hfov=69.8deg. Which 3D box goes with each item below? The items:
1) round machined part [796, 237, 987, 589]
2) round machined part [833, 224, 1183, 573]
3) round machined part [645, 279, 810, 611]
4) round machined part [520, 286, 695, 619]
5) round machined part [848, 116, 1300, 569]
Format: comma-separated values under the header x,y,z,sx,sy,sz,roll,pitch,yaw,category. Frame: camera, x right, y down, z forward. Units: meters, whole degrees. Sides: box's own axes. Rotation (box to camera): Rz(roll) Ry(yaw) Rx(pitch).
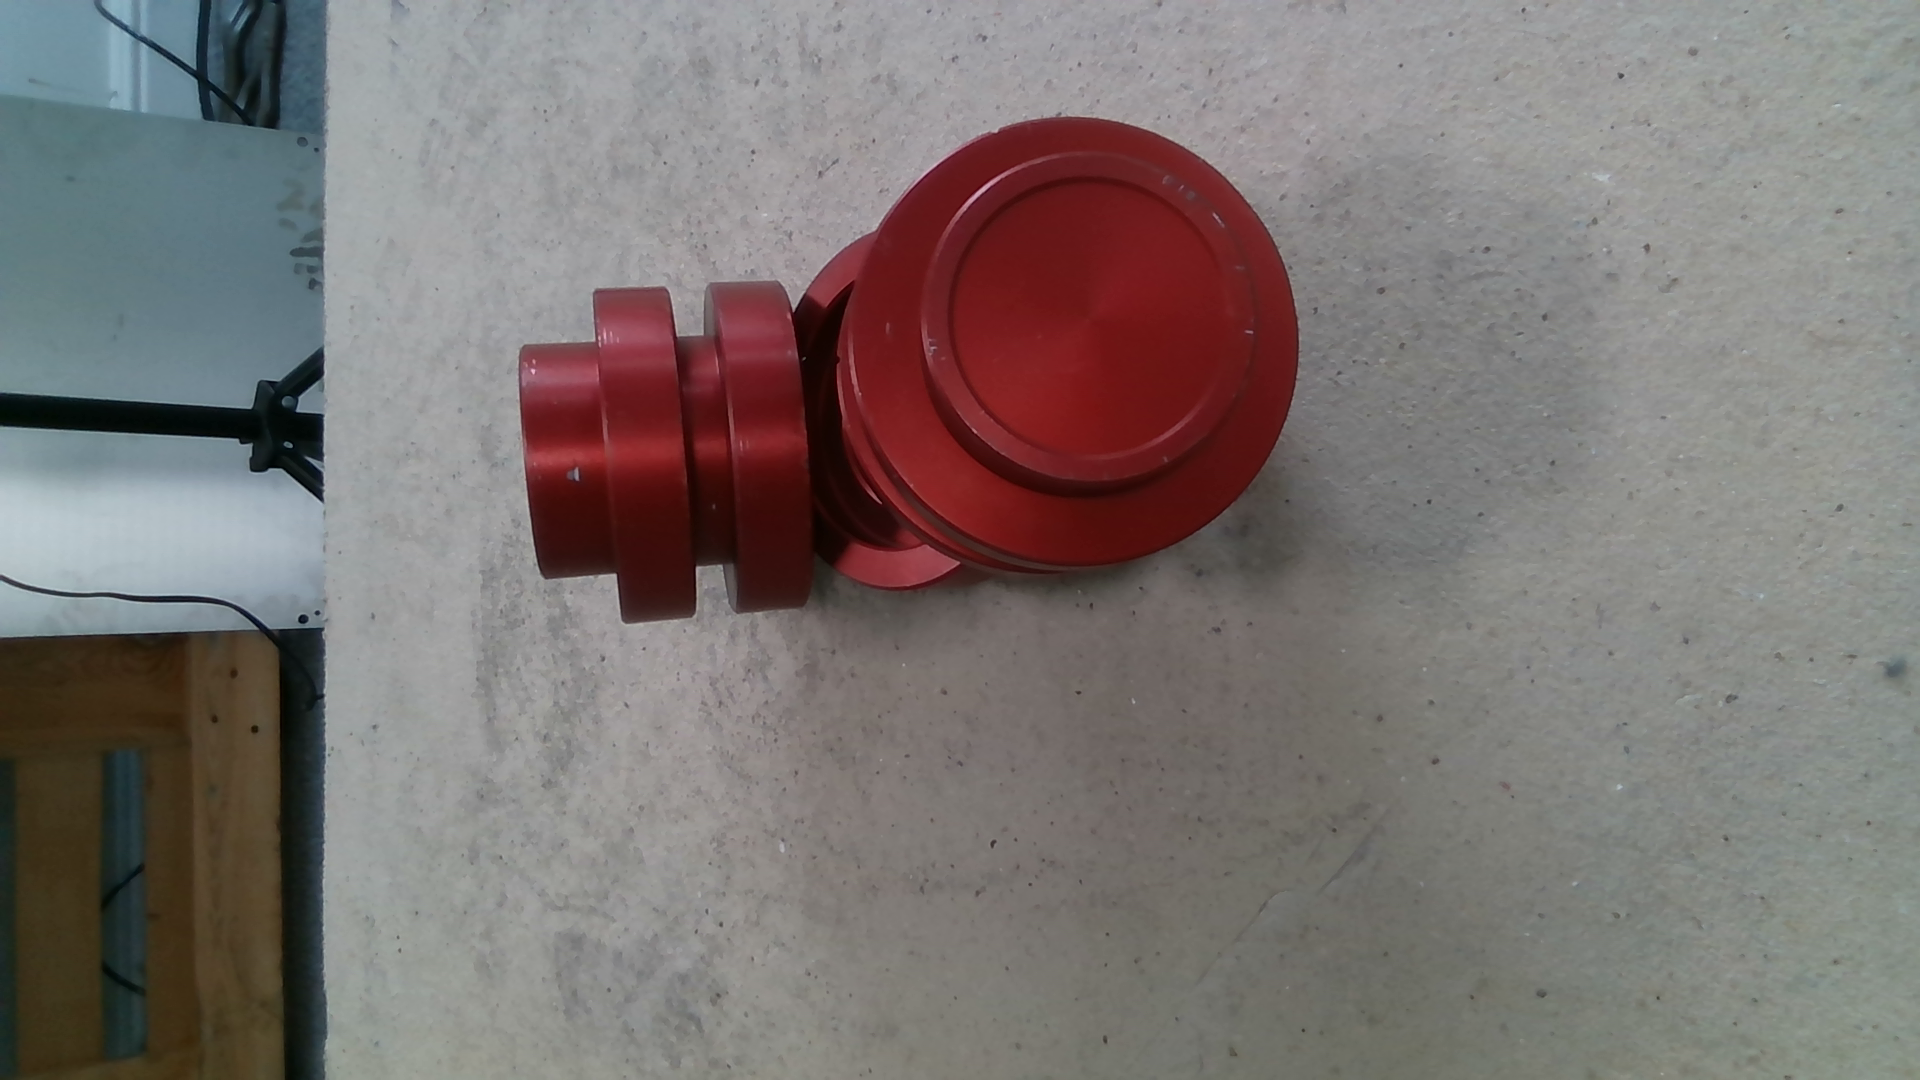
x,y,z,sx,sy,sz,roll,pitch,yaw,category
-0.004,-0.036,0.384,0.098,0.042,0.098,0,91,40,round machined part
0.019,-0.041,0.327,0.098,0.042,0.098,0,87,-3,round machined part
-0.072,-0.027,0.408,0.098,0.042,0.098,175,91,-77,round machined part
-0.104,-0.024,0.404,0.098,0.042,0.098,175,91,-76,round machined part
0.025,-0.044,0.295,0.098,0.042,0.098,0,86,-3,round machined part
